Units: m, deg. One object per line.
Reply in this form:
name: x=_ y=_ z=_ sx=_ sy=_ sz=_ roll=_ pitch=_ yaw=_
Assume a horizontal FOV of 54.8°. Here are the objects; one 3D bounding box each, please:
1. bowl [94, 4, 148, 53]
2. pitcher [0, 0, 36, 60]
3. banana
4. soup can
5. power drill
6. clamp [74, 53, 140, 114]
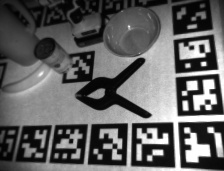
bowl: x=0.034 y=-0.154 z=0.607 sx=0.160 sy=0.056 sz=0.161 roll=-6 pitch=70 yaw=18
pitcher: x=-0.323 y=-0.182 z=0.640 sx=0.188 sy=0.245 sz=0.132 roll=-27 pitch=61 yaw=9
banana: x=-0.296 y=-0.041 z=0.697 sx=0.197 sy=0.039 sz=0.073 roll=-28 pitch=56 yaw=7
soup can: x=-0.189 y=-0.108 z=0.646 sx=0.067 sy=0.103 sz=0.067 roll=-9 pitch=60 yaw=17
power drill: x=-0.094 y=-0.229 z=0.585 sx=0.183 sy=0.189 sz=0.057 roll=-9 pitch=68 yaw=16
clamp: x=-0.029 y=0.000 z=0.577 sx=0.201 sy=0.037 sz=0.165 roll=-6 pitch=73 yaw=17
